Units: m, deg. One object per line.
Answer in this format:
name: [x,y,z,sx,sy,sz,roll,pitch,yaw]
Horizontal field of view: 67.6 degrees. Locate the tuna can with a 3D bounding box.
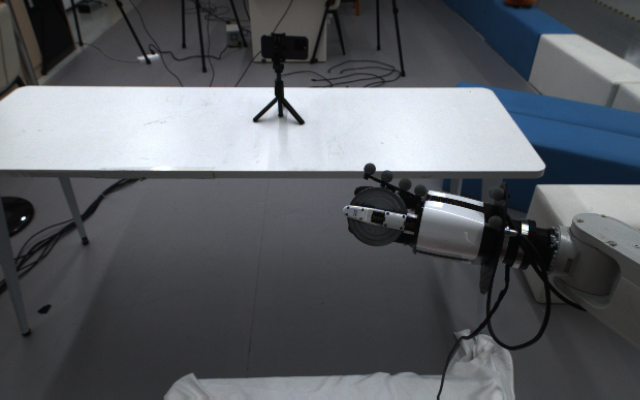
tuna can: [0.088,0.023,0.707,0.085,0.085,0.034,13,2,16]
